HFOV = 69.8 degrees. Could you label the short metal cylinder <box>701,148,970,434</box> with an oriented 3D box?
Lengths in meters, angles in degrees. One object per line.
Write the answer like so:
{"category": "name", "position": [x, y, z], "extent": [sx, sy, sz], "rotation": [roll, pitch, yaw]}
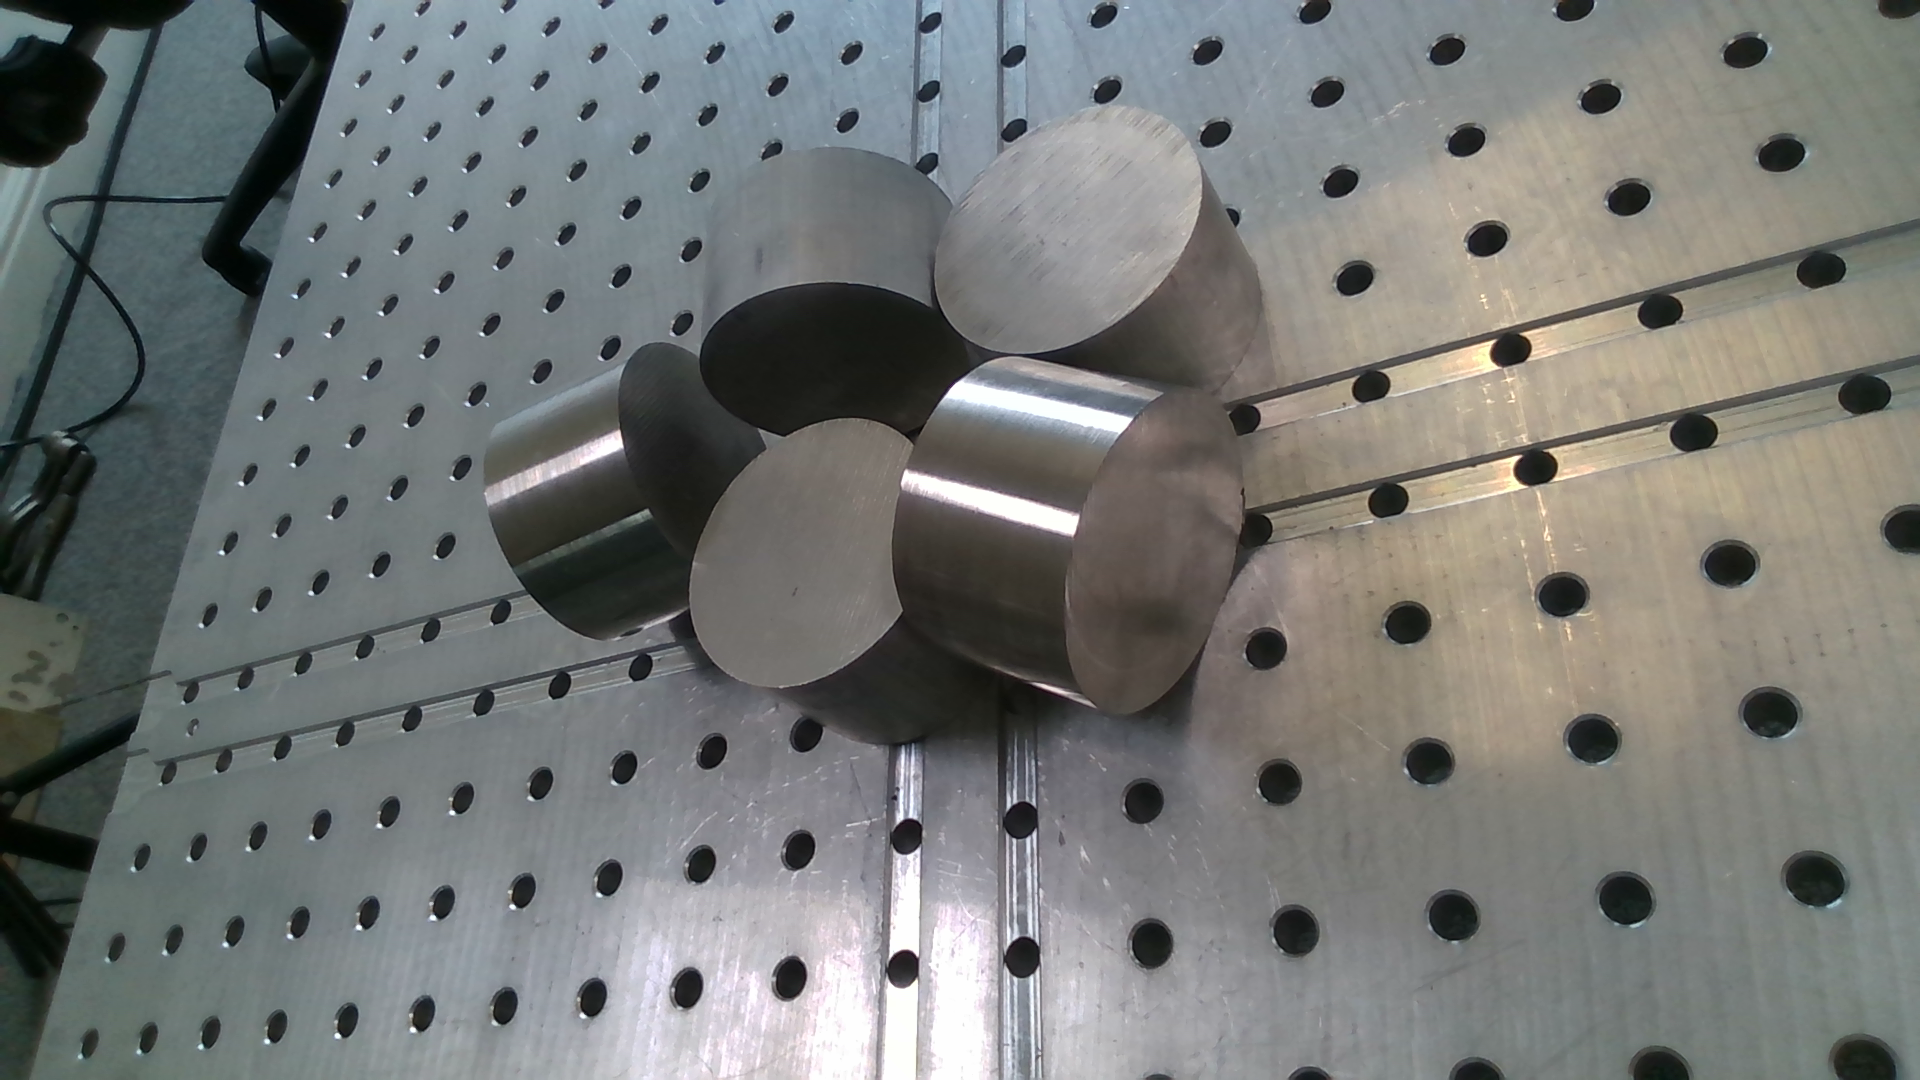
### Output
{"category": "short metal cylinder", "position": [-0.038, -0.073, 0.423], "extent": [0.080, 0.080, 0.050], "rotation": [-17, 58, 24]}

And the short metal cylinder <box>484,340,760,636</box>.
{"category": "short metal cylinder", "position": [-0.100, -0.015, 0.429], "extent": [0.050, 0.080, 0.080], "rotation": [-20, 56, 22]}

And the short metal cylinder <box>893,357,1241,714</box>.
{"category": "short metal cylinder", "position": [0.029, -0.003, 0.344], "extent": [0.050, 0.080, 0.080], "rotation": [16, 75, 36]}

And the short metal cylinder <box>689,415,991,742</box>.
{"category": "short metal cylinder", "position": [-0.029, 0.012, 0.391], "extent": [0.080, 0.050, 0.080], "rotation": [-14, 59, 25]}

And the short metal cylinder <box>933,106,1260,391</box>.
{"category": "short metal cylinder", "position": [0.039, -0.075, 0.395], "extent": [0.080, 0.050, 0.080], "rotation": [-15, 58, 25]}
